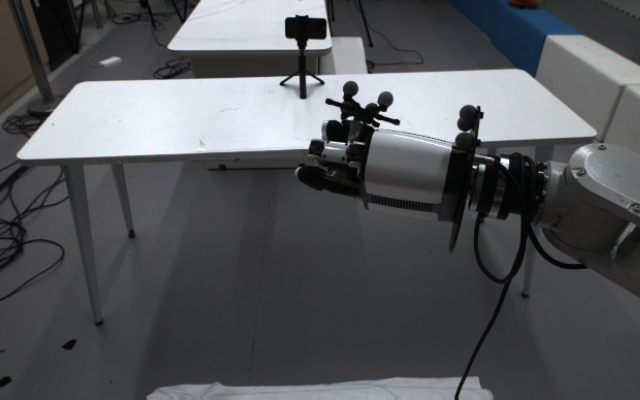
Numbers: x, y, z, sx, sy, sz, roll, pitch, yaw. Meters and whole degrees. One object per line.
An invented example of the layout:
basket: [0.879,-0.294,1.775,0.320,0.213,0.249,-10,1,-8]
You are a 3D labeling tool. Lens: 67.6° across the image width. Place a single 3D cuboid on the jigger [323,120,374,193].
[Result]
jigger: [0.034,-0.053,0.553,0.043,0.071,0.043,18,-6,2]
